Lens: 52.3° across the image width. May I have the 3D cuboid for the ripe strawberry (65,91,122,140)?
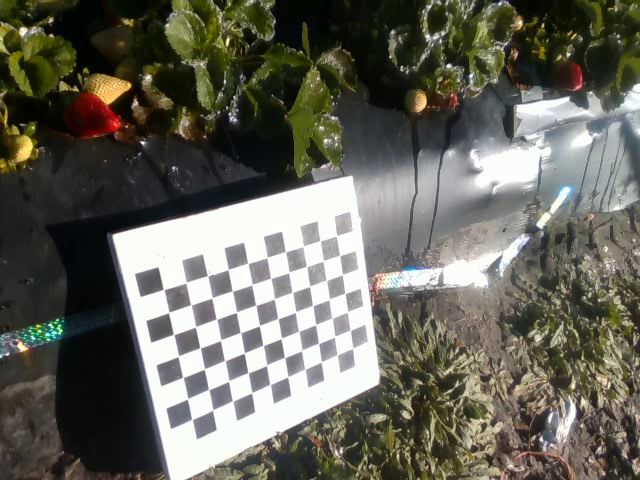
[{"bbox_3d":[-0.182,-0.101,0.535,0.053,0.040,0.042,21,-24,28],"label":"ripe strawberry"}]
